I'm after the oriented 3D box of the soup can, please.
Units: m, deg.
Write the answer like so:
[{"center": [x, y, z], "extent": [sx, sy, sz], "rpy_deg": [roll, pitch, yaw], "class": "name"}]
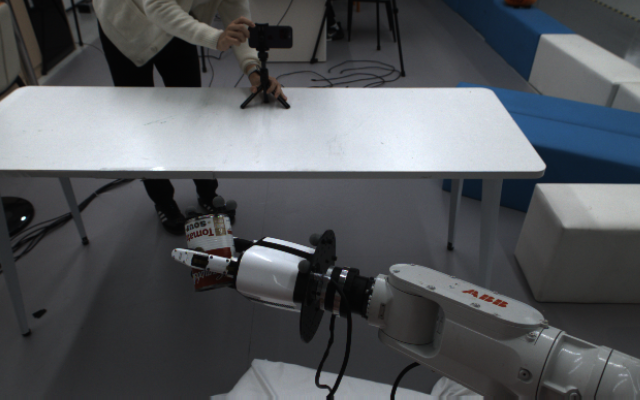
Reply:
[{"center": [-0.156, 0.079, 0.707], "extent": [0.067, 0.067, 0.101], "rpy_deg": [-10, 79, -17], "class": "soup can"}]
